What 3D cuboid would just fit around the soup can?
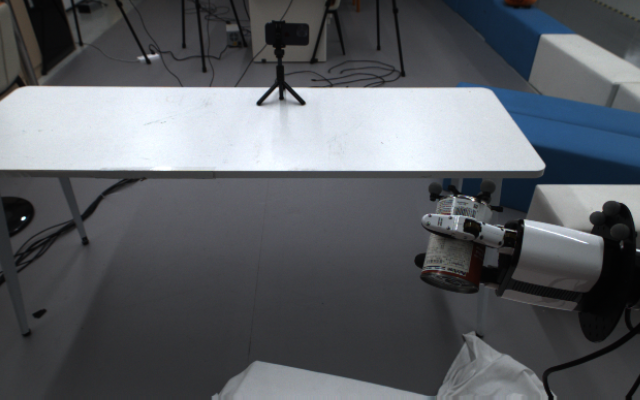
[{"bbox_3d":[0.165,0.050,0.582,0.067,0.067,0.101,12,71,14],"label":"soup can"}]
